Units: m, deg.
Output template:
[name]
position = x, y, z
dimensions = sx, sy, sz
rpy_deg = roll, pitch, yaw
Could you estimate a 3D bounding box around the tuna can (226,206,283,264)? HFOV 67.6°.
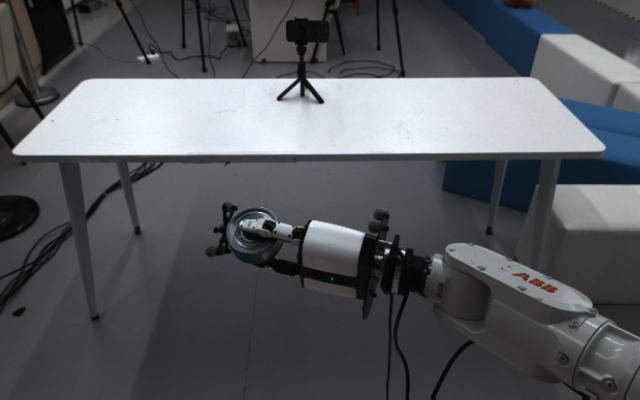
[tuna can]
position = -0.098, 0.053, 0.747
dimensions = 0.085, 0.034, 0.085
rpy_deg = -2, 58, 3
